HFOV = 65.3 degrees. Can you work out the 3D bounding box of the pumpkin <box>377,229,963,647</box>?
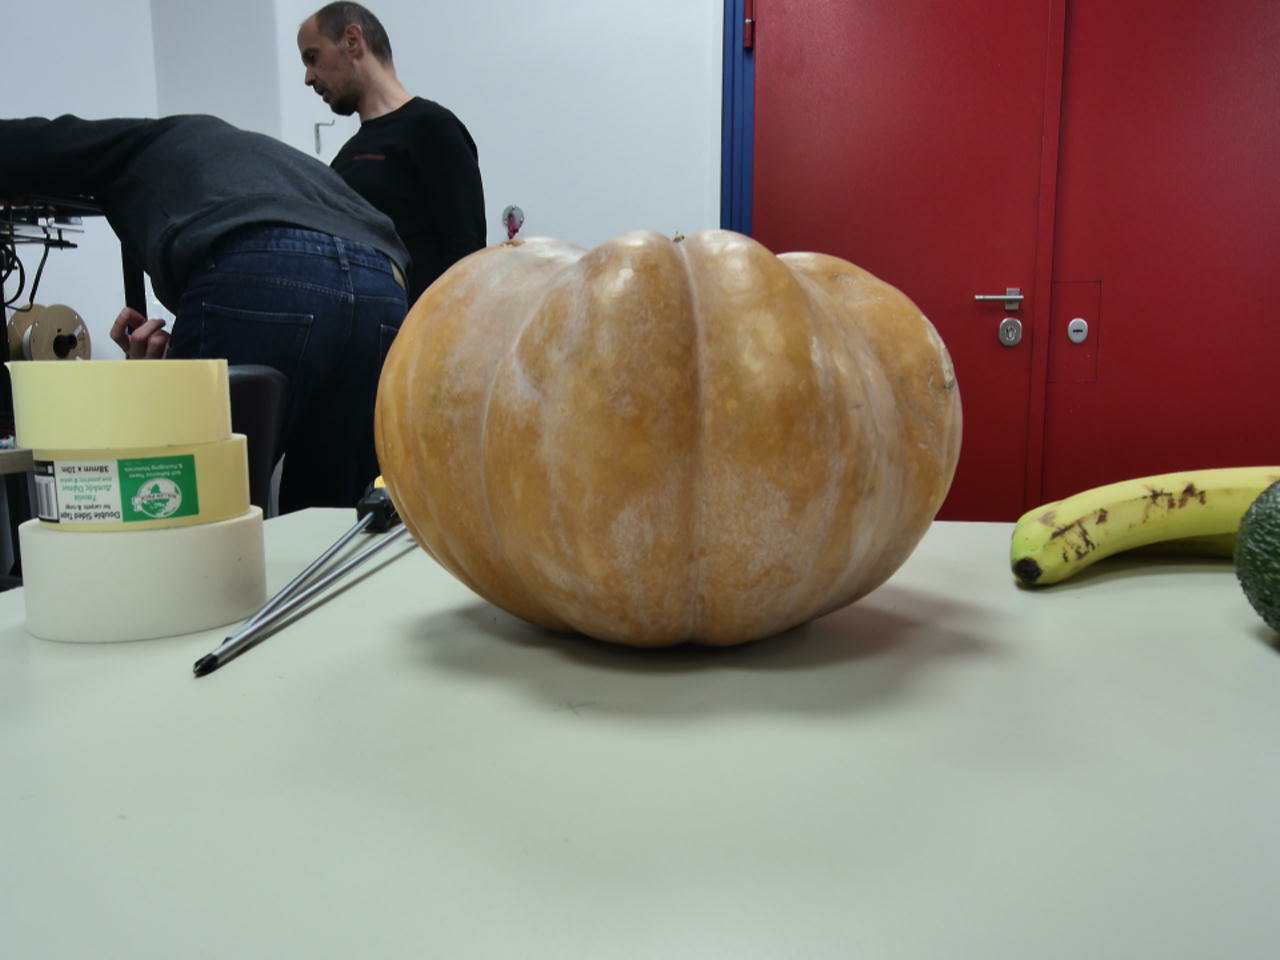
[{"bbox_3d":[0.012,-0.023,0.469,0.277,0.181,0.277,0,5,0],"label":"pumpkin"}]
